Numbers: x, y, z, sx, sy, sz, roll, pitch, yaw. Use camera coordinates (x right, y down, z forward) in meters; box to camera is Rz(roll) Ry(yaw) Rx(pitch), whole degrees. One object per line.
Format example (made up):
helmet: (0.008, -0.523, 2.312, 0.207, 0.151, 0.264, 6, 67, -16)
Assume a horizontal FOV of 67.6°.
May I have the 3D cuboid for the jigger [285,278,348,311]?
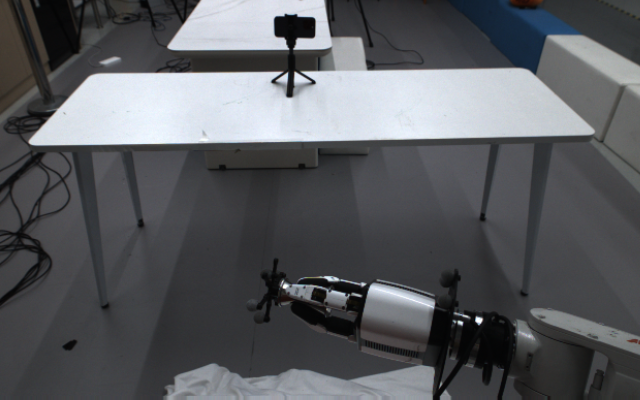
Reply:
jigger: (-0.012, 0.126, 0.652, 0.071, 0.043, 0.043, 8, 35, 15)
